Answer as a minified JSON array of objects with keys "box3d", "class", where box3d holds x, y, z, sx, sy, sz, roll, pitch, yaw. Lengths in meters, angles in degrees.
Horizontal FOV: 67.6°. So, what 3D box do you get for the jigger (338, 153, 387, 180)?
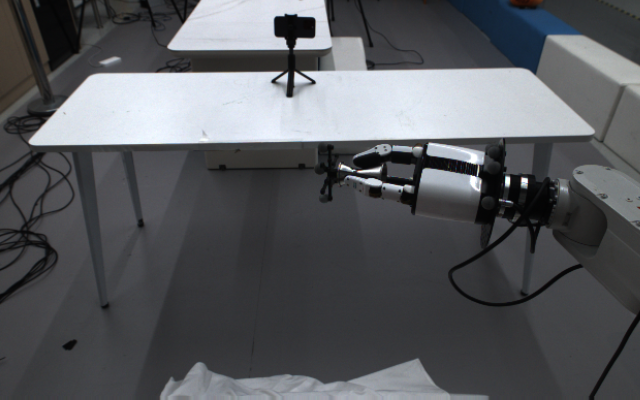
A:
[{"box3d":[0.070,-0.041,0.731,0.071,0.043,0.043,5,34,18],"class":"jigger"}]
